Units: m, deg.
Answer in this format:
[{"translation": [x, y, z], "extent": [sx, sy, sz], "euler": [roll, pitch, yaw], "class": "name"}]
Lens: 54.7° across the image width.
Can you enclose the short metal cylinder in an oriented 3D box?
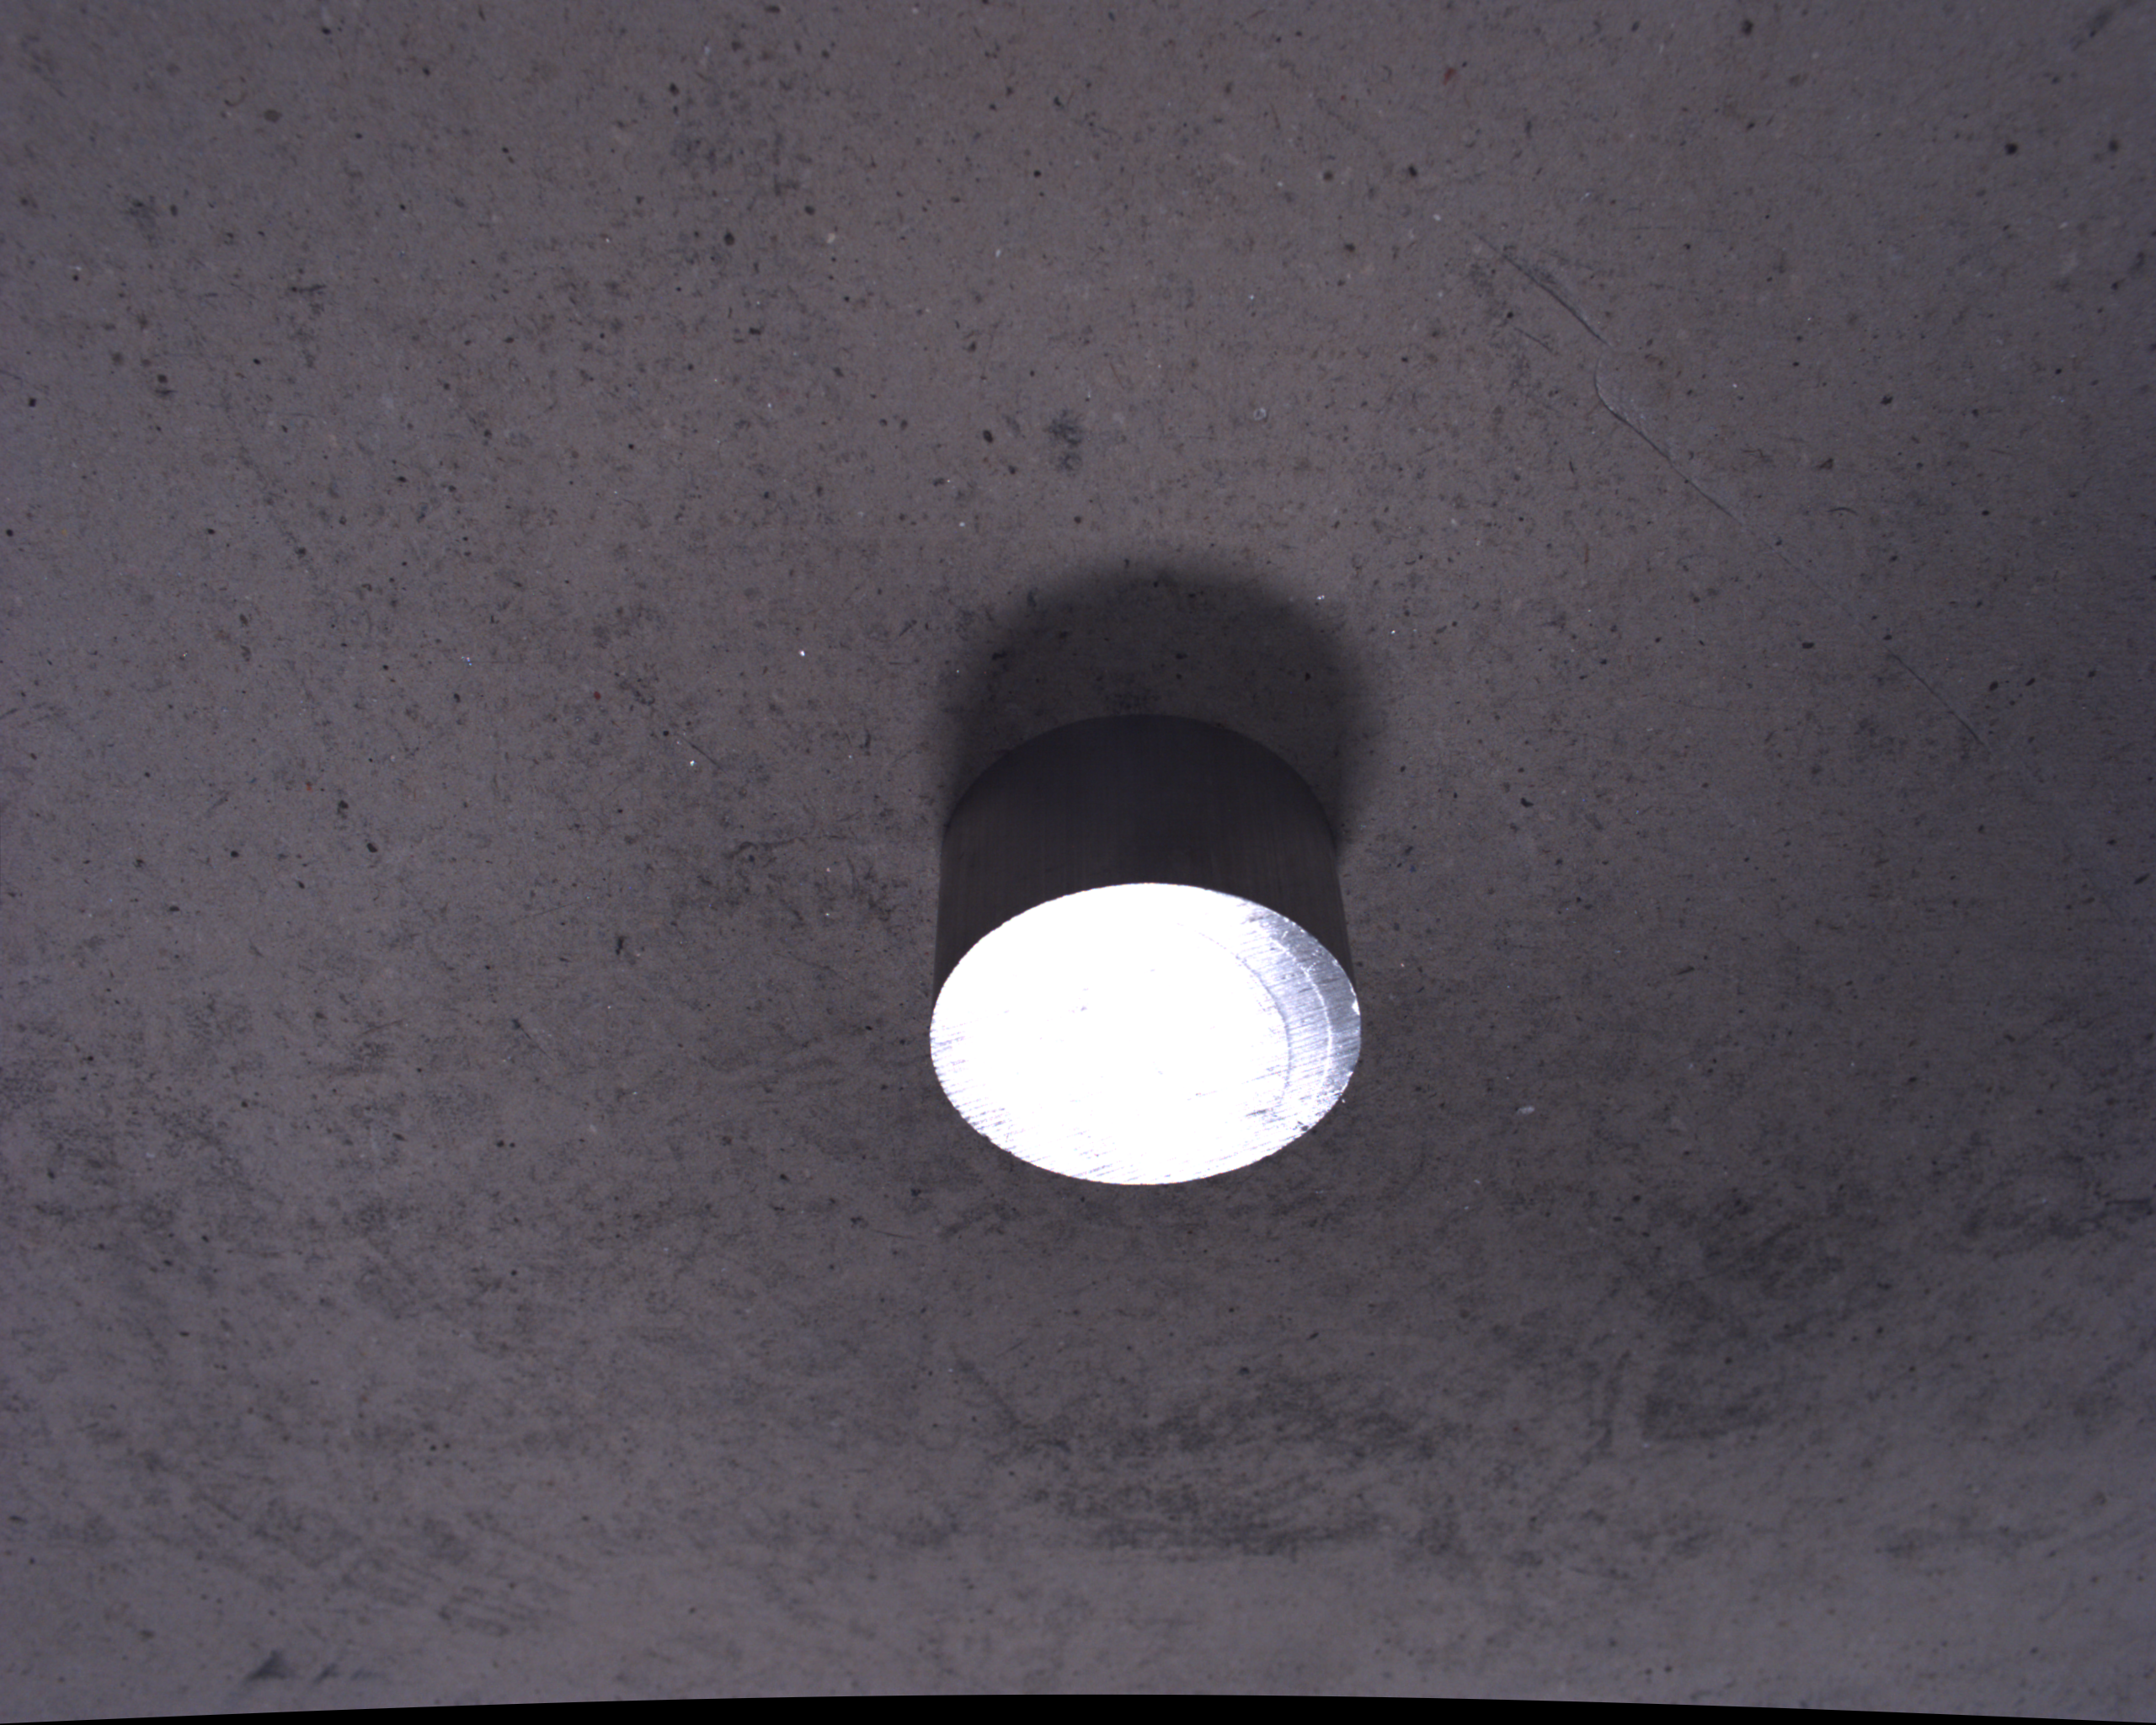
[{"translation": [0.013, 0.017, 0.407], "extent": [0.081, 0.050, 0.079], "euler": [0, 130, 0], "class": "short metal cylinder"}]
